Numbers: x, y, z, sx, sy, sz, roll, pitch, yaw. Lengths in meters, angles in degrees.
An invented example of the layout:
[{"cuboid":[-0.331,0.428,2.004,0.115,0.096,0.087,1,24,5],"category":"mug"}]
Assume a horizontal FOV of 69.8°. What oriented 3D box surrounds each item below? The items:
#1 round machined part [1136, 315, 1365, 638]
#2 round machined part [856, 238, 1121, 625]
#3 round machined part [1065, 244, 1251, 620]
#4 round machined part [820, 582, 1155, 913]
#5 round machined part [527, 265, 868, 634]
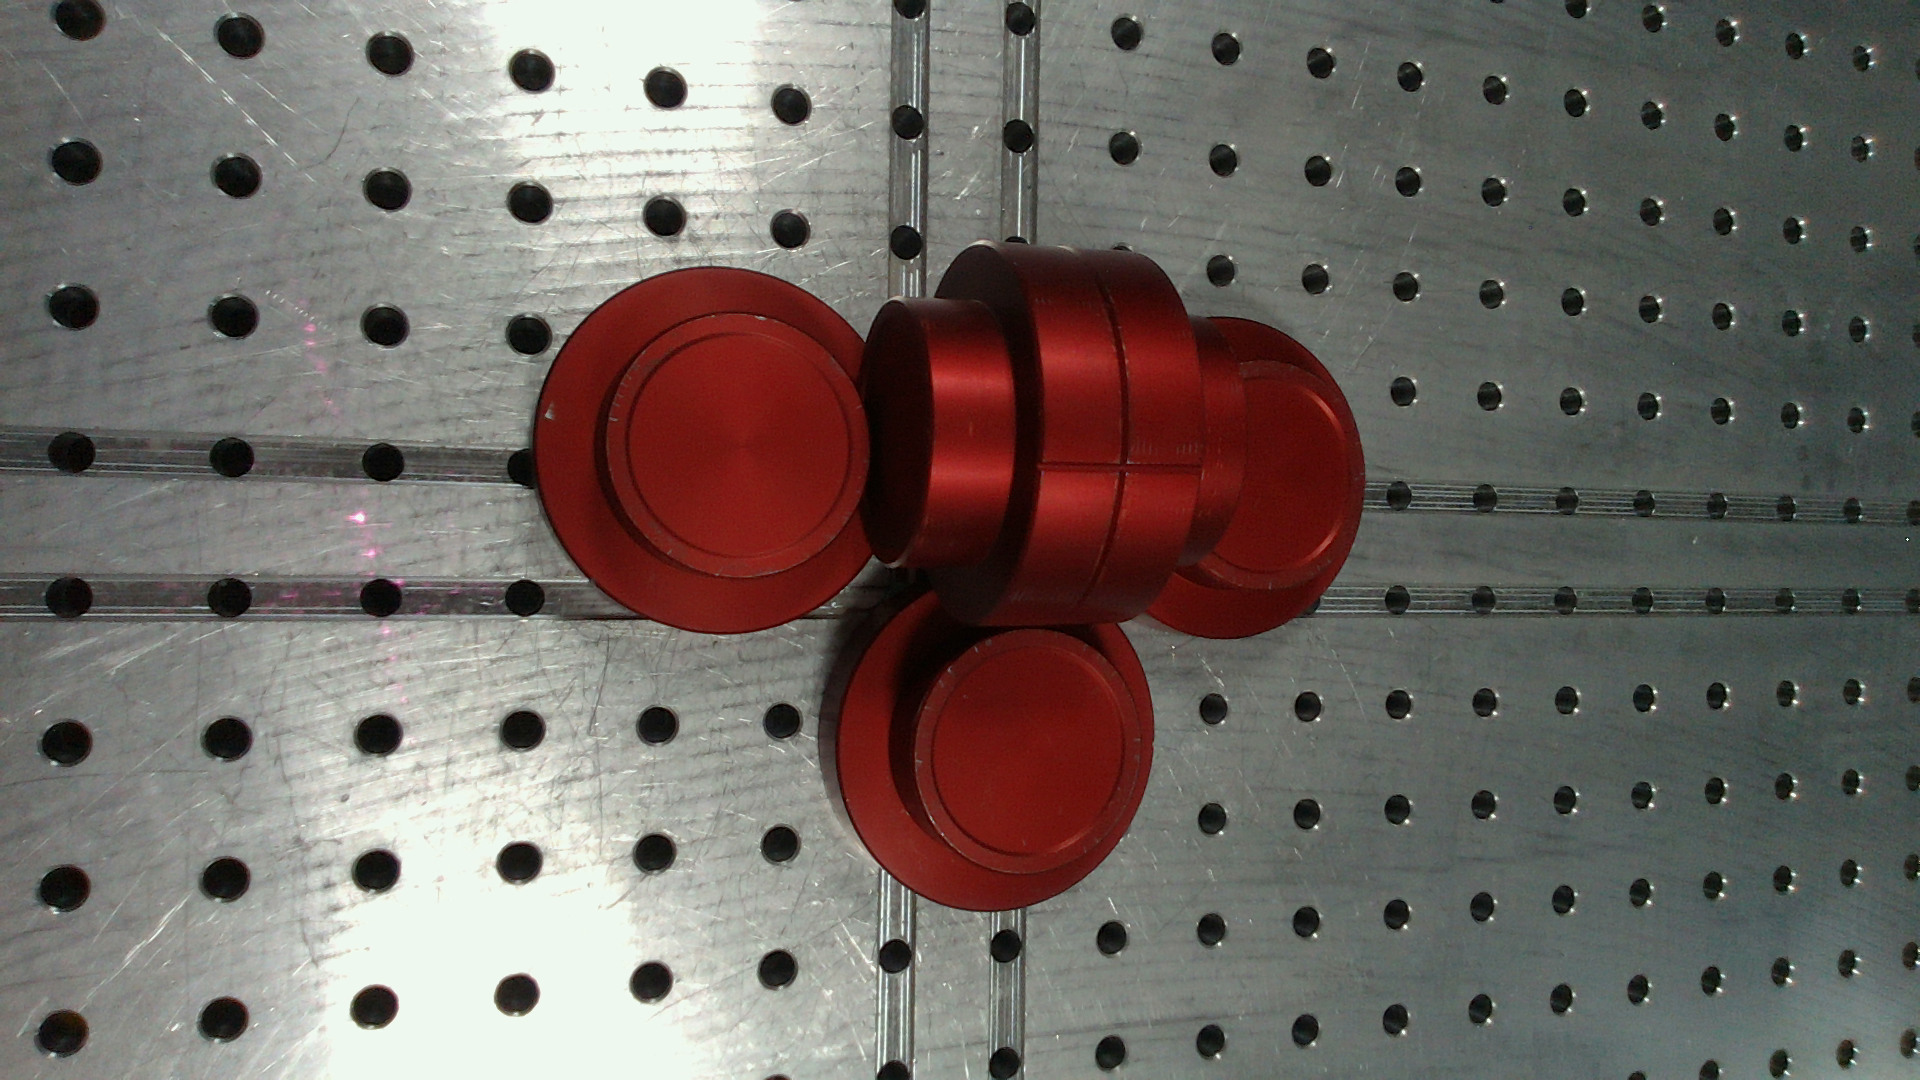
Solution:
[{"cuboid":[0.082,-0.019,0.416,0.098,0.042,0.098,0,90,-20],"category":"round machined part"},{"cuboid":[0.001,-0.027,0.351,0.042,0.098,0.098,1,90,-20],"category":"round machined part"},{"cuboid":[0.042,-0.028,0.366,0.042,0.098,0.098,-1,90,-20],"category":"round machined part"},{"cuboid":[0.012,0.057,0.391,0.098,0.042,0.098,0,90,-20],"category":"round machined part"},{"cuboid":[-0.063,-0.024,0.364,0.098,0.042,0.098,0,90,-20],"category":"round machined part"}]
